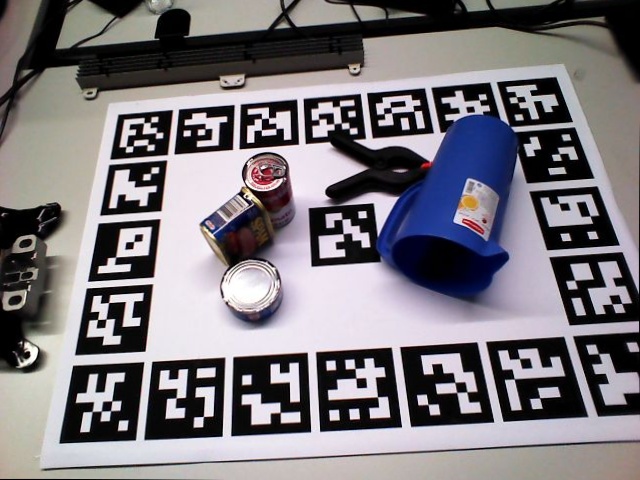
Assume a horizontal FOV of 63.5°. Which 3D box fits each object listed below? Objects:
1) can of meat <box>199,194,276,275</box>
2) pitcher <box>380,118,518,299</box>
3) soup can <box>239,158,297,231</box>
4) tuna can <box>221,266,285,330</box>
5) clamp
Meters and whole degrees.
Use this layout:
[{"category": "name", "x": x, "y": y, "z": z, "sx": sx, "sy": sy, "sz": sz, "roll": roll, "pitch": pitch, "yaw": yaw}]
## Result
[{"category": "can of meat", "x": -0.119, "y": -0.004, "z": 0.737, "sx": 0.083, "sy": 0.102, "sz": 0.058, "roll": -38, "pitch": 66, "yaw": -11}, {"category": "pitcher", "x": 0.195, "y": -0.051, "z": 0.714, "sx": 0.190, "sy": 0.133, "sz": 0.241, "roll": 3, "pitch": 52, "yaw": 32}, {"category": "soup can", "x": -0.075, "y": -0.066, "z": 0.771, "sx": 0.068, "sy": 0.102, "sz": 0.067, "roll": -3, "pitch": 63, "yaw": 6}, {"category": "tuna can", "x": -0.093, "y": 0.082, "z": 0.730, "sx": 0.086, "sy": 0.034, "sz": 0.085, "roll": -2, "pitch": 64, "yaw": 4}, {"category": "clamp", "x": 0.082, "y": -0.110, "z": 0.826, "sx": 0.165, "sy": 0.037, "sz": 0.121, "roll": -1, "pitch": 58, "yaw": 1}]
